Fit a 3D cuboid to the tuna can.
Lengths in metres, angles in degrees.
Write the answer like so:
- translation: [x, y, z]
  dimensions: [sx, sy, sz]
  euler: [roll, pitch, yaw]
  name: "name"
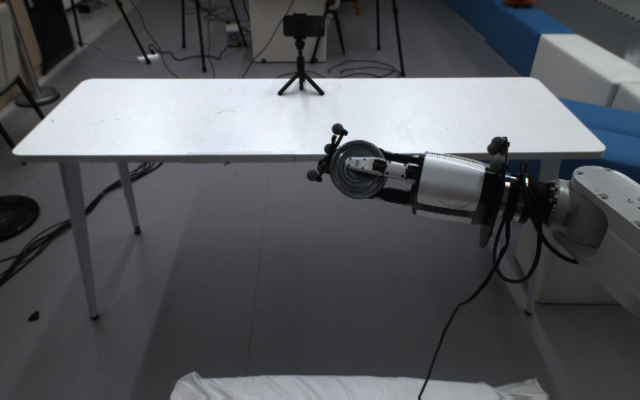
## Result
- translation: [0.059, -0.046, 0.720]
  dimensions: [0.085, 0.085, 0.034]
  euler: [9, -4, 10]
  name: "tuna can"
